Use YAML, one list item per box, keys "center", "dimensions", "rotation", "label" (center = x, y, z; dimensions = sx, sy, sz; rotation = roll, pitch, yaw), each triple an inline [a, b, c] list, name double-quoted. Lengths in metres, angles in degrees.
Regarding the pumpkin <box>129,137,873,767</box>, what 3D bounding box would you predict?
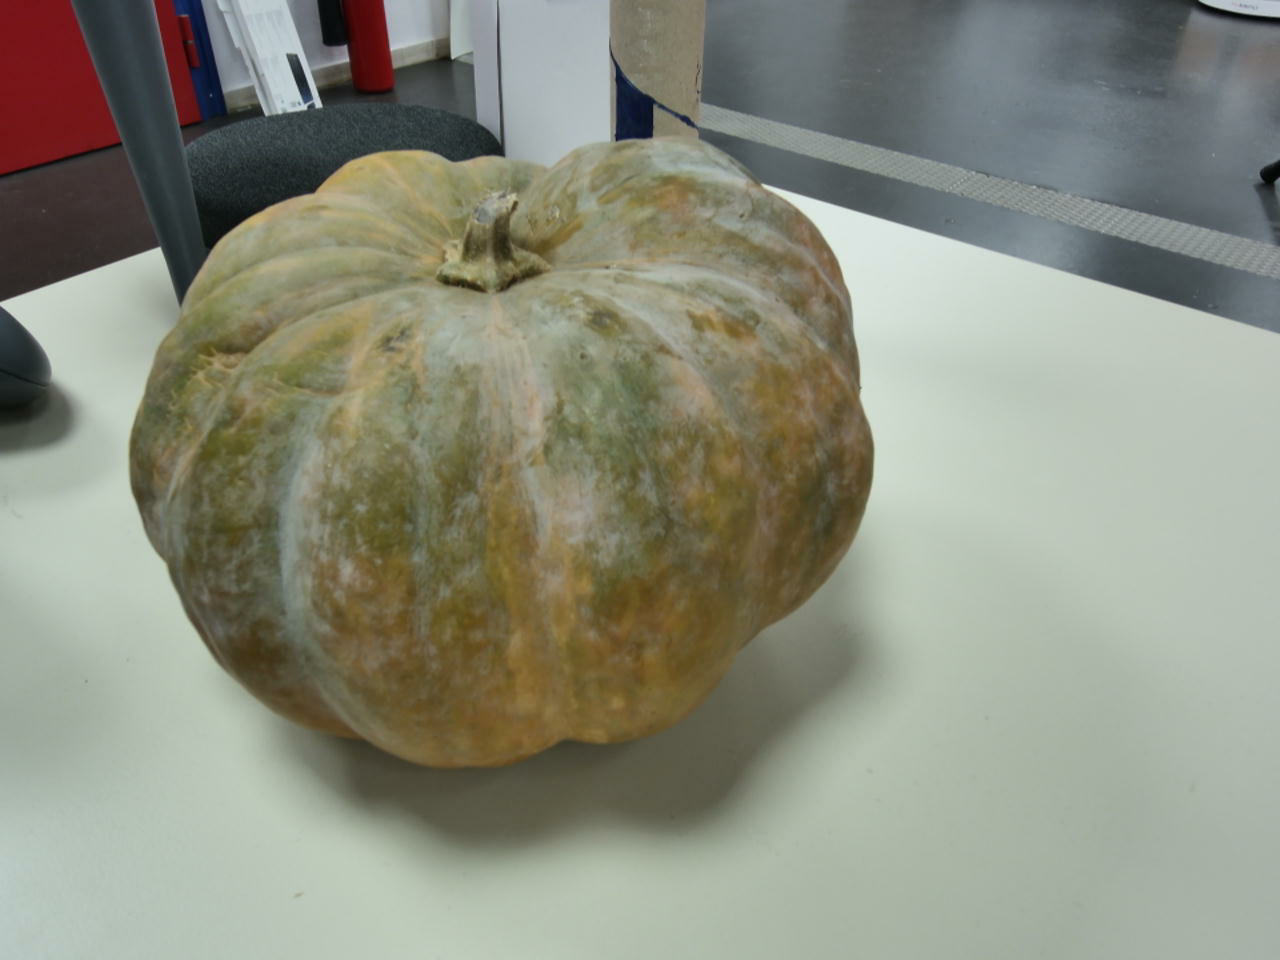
- center: [-0.045, -0.019, 0.349]
  dimensions: [0.252, 0.169, 0.251]
  rotation: [0, 36, 0]
  label: "pumpkin"
